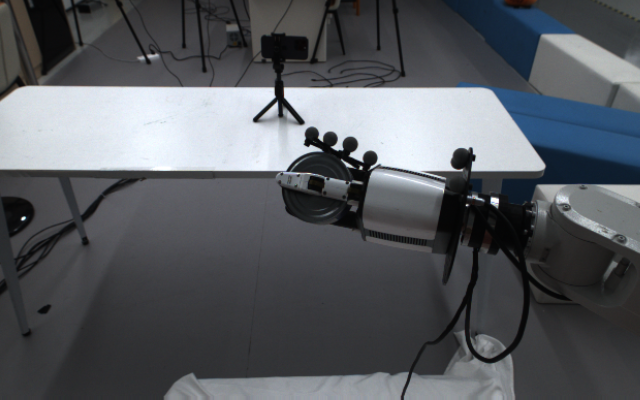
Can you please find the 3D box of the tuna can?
[{"bbox_3d":[0.001,-0.015,0.584,0.085,0.085,0.034,13,-6,16],"label":"tuna can"}]
